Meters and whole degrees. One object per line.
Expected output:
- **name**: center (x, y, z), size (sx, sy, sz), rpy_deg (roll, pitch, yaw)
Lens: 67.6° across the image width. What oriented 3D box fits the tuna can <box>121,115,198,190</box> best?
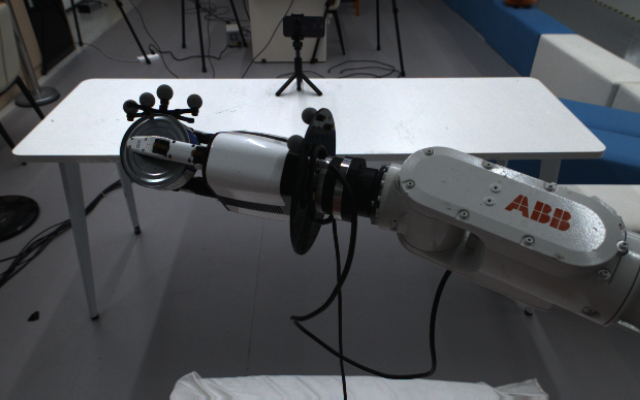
- **tuna can**: center (-0.180, -0.053, 0.561), size (0.085, 0.085, 0.034), rpy_deg (10, -6, 11)
